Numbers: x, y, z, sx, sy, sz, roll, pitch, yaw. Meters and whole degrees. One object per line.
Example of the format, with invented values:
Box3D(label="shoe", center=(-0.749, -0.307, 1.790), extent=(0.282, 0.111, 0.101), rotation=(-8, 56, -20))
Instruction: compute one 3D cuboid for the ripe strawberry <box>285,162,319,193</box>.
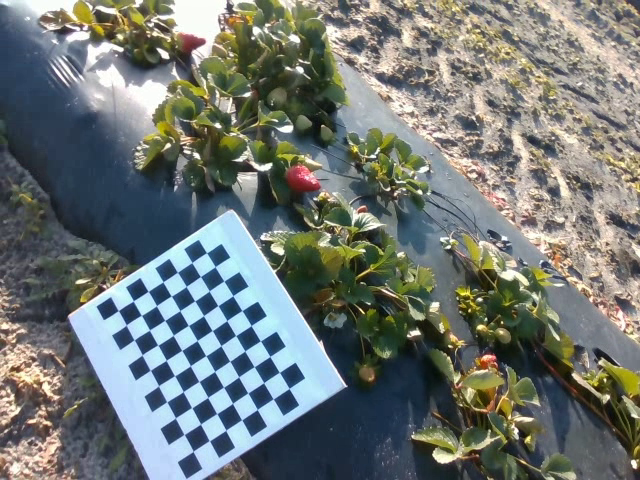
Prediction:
Box3D(label="ripe strawberry", center=(-0.027, -0.100, 1.095), extent=(0.072, 0.057, 0.055), rotation=(28, -10, 23))
